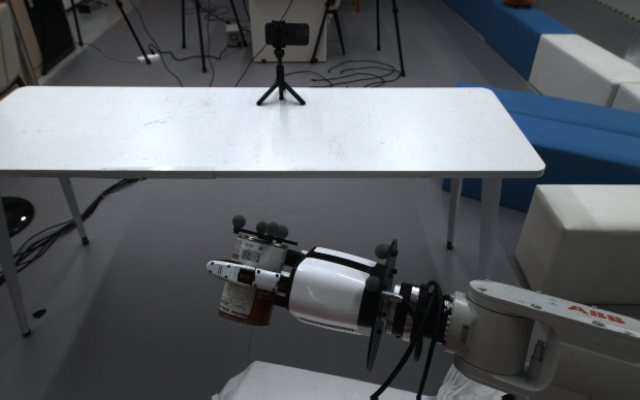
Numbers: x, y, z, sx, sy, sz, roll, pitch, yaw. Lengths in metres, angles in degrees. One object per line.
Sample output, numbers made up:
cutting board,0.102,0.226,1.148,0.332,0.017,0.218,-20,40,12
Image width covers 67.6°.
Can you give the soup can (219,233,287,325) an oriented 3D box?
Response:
soup can,-0.082,0.100,0.610,0.067,0.101,0.067,13,-6,1
